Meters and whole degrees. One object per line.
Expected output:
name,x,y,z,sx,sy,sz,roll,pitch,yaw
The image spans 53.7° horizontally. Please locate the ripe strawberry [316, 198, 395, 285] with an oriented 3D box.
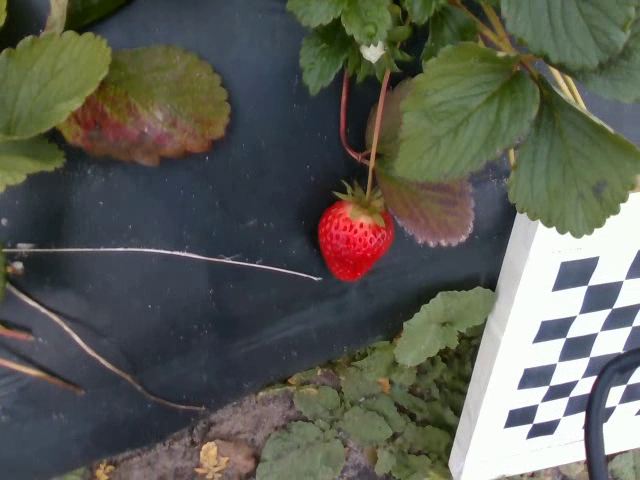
ripe strawberry,0.011,0.002,0.208,0.028,0.033,0.023,7,35,-16
